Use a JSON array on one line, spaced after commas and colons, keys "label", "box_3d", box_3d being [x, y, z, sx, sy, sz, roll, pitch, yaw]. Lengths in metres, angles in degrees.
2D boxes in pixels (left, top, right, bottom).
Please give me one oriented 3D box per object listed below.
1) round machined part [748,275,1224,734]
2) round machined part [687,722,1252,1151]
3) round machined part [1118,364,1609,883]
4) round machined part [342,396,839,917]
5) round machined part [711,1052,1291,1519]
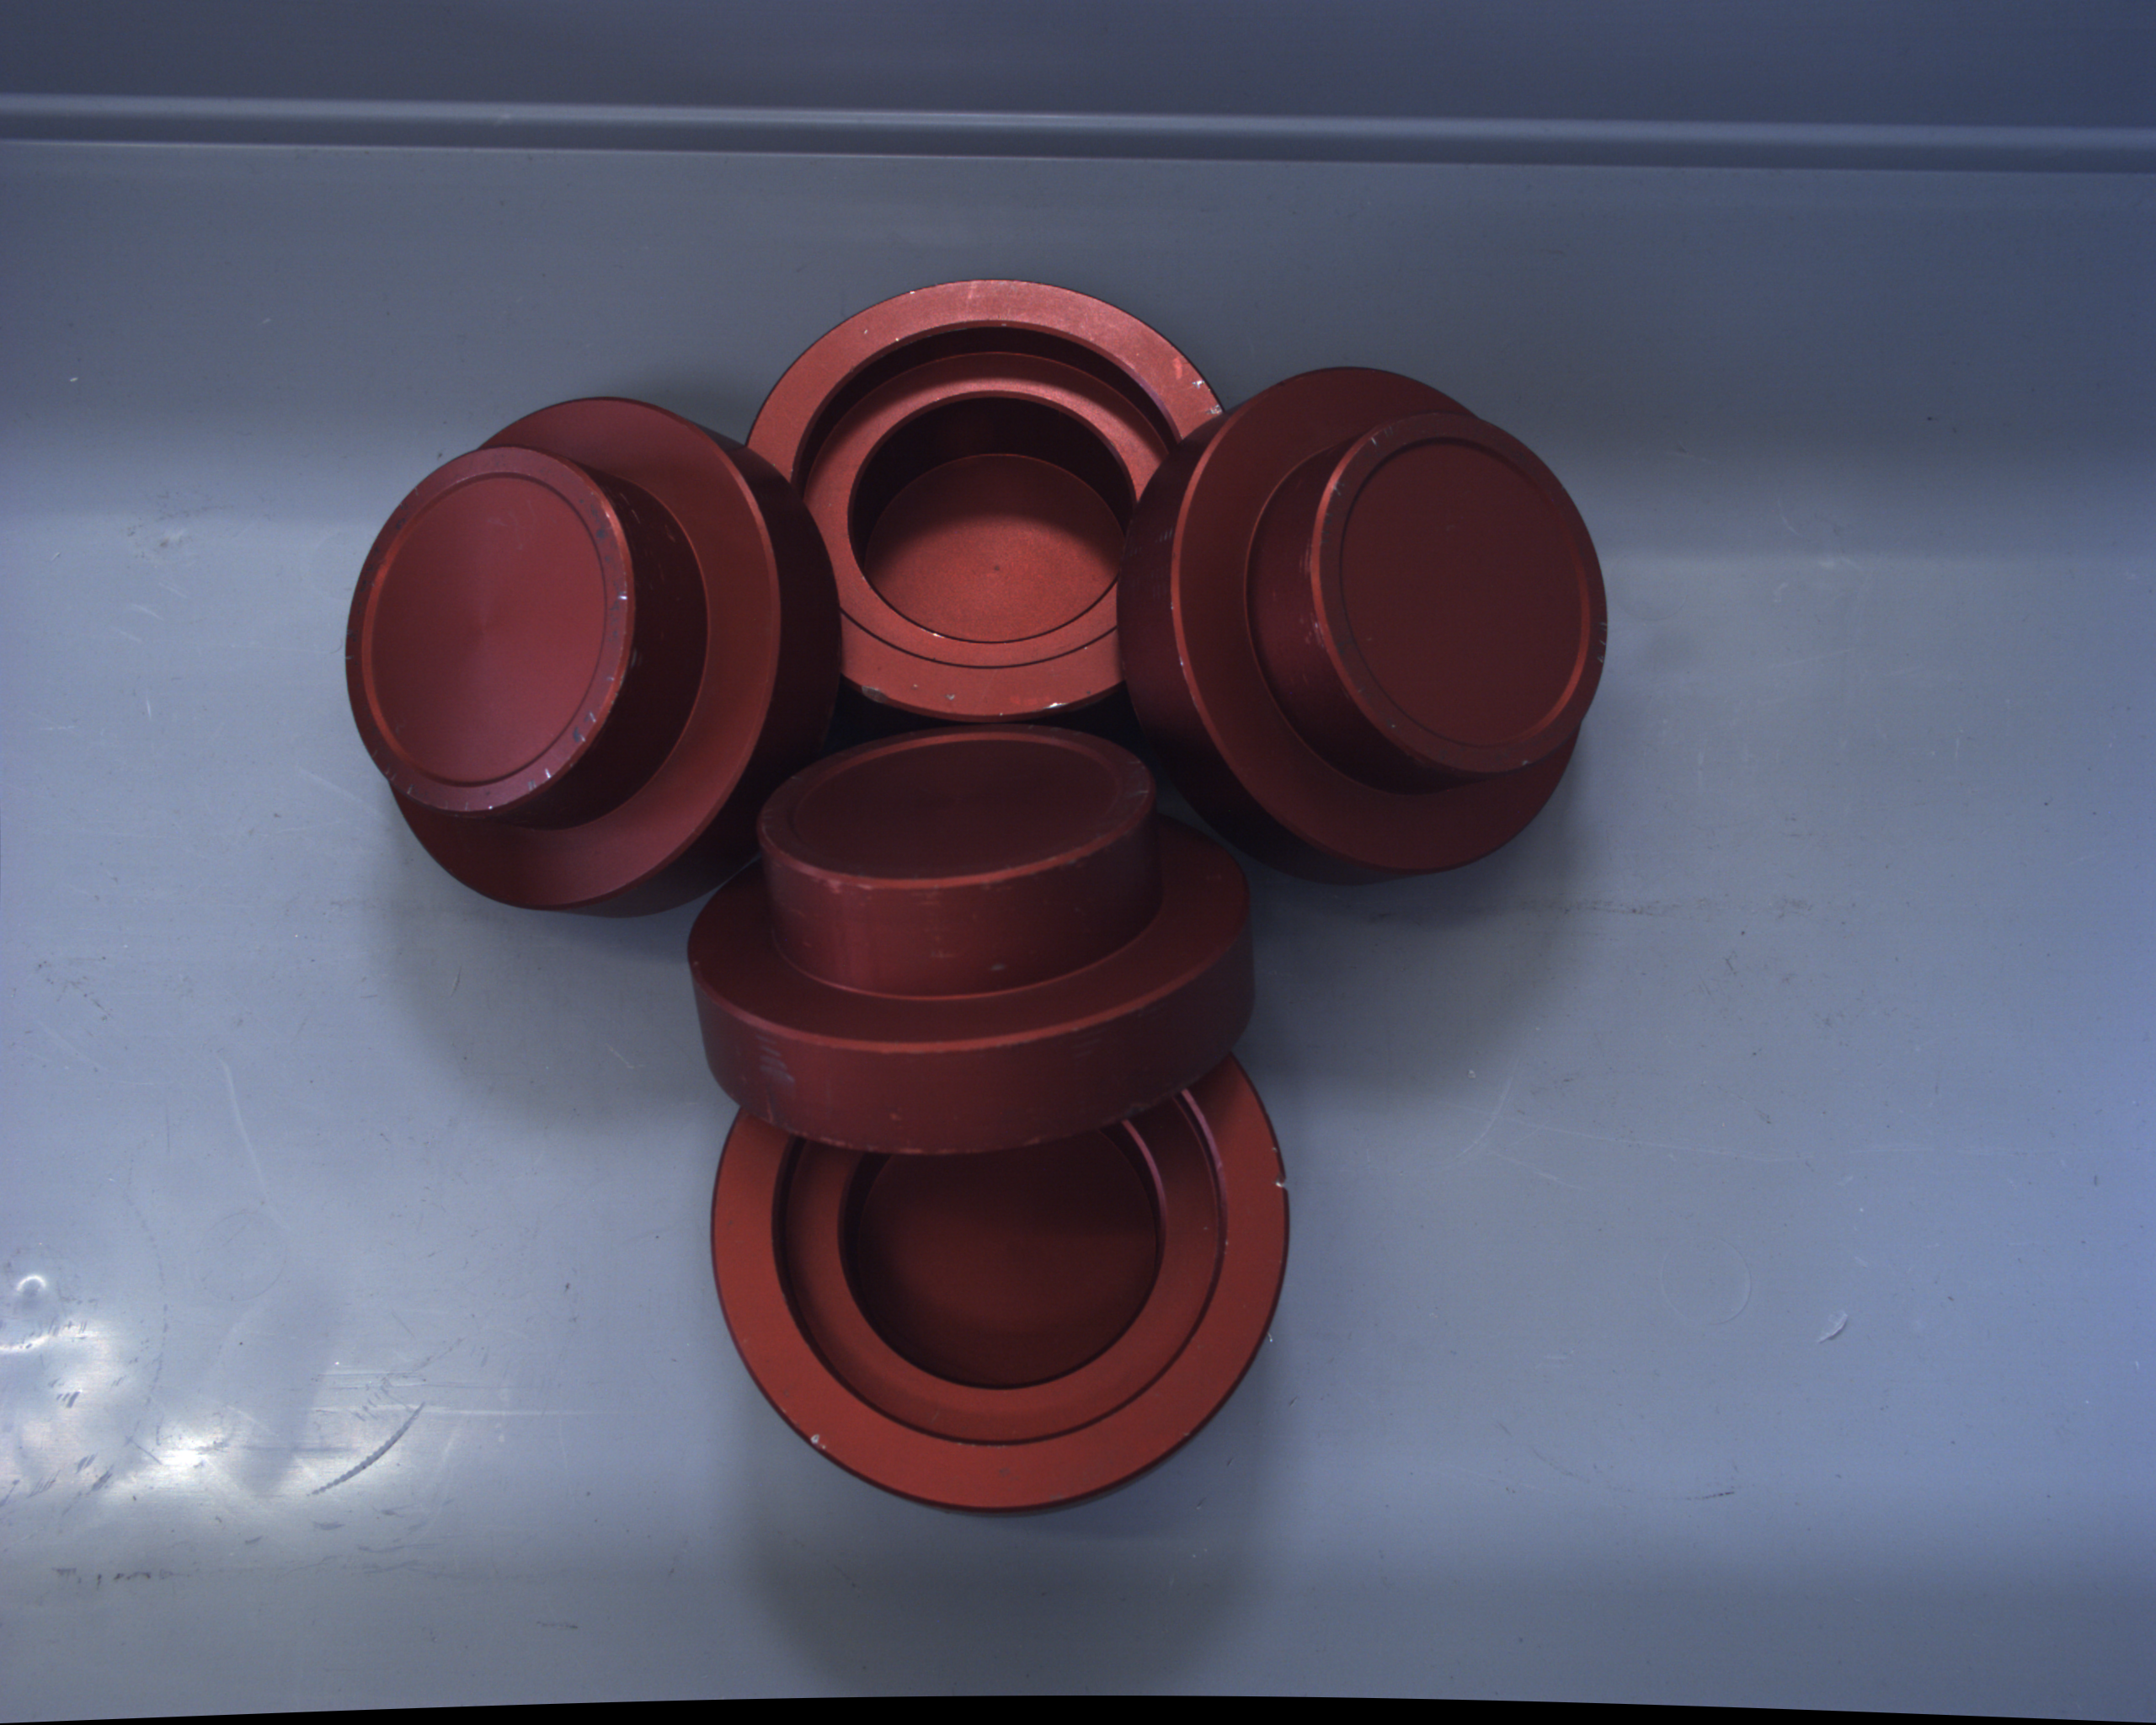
[{"label": "round machined part", "box_3d": [-0.017, -0.066, 0.422, 0.099, 0.042, 0.098, 0, 70, 0]}, {"label": "round machined part", "box_3d": [-0.019, 0.007, 0.366, 0.099, 0.098, 0.042, -6, 115, -2]}, {"label": "round machined part", "box_3d": [0.060, -0.047, 0.392, 0.099, 0.042, 0.097, 5, 81, -30]}, {"label": "round machined part", "box_3d": [-0.097, -0.040, 0.390, 0.098, 0.042, 0.097, -4, 82, 27]}, {"label": "round machined part", "box_3d": [-0.013, 0.067, 0.374, 0.099, 0.042, 0.098, 0, 70, 0]}]
